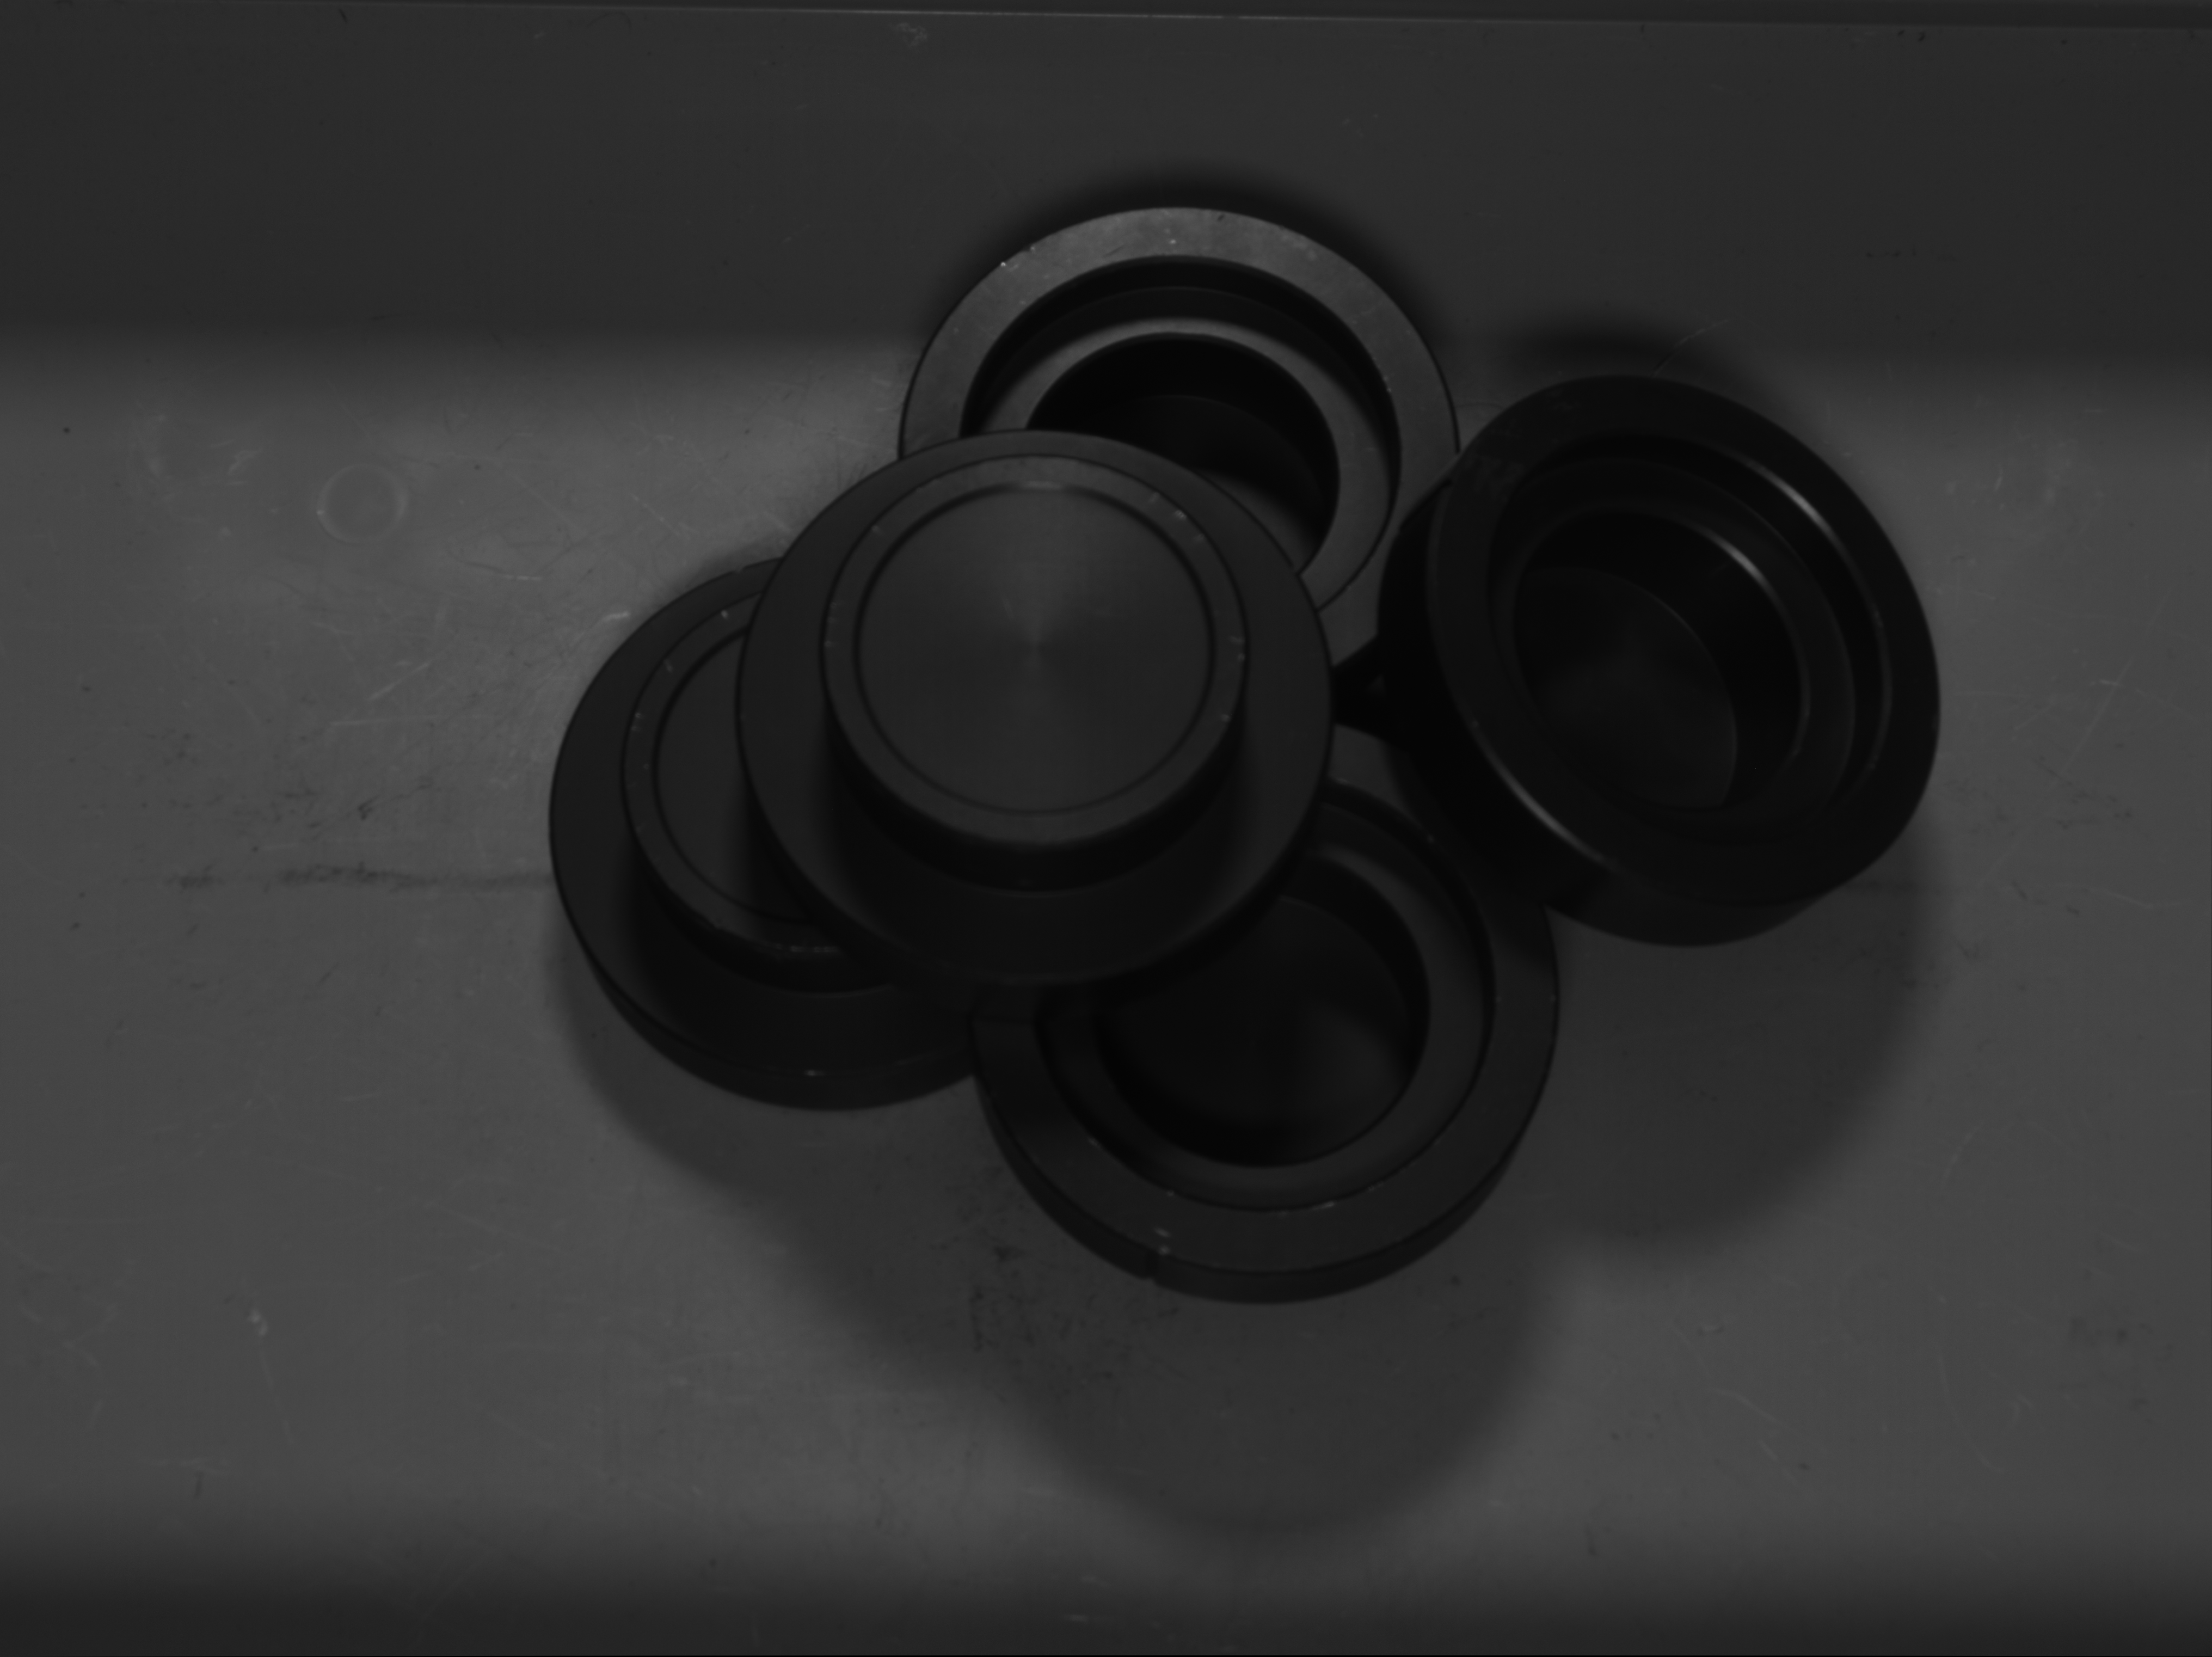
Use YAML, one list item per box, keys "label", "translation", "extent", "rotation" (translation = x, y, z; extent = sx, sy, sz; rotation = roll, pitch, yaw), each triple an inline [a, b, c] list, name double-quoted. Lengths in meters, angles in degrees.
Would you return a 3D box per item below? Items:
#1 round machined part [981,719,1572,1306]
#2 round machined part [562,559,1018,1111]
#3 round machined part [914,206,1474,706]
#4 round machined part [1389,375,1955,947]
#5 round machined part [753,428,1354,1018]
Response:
- label: "round machined part"
  translation: [0.028, 0.033, 0.622]
  extent: [0.098, 0.042, 0.098]
  rotation: [0, 70, 0]
- label: "round machined part"
  translation: [-0.045, -0.004, 0.634]
  extent: [0.098, 0.042, 0.098]
  rotation: [0, 70, 0]
- label: "round machined part"
  translation: [0.015, -0.058, 0.656]
  extent: [0.098, 0.042, 0.098]
  rotation: [0, 70, 0]
- label: "round machined part"
  translation: [0.093, -0.025, 0.633]
  extent: [0.098, 0.042, 0.098]
  rotation: [8, 66, -19]
- label: "round machined part"
  translation: [-0.009, -0.022, 0.596]
  extent: [0.098, 0.042, 0.098]
  rotation: [0, 70, 0]
